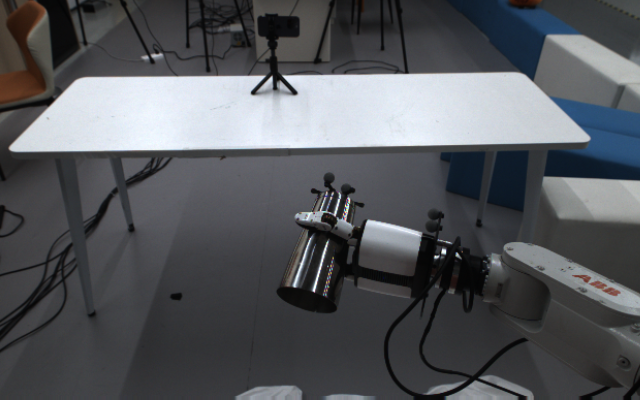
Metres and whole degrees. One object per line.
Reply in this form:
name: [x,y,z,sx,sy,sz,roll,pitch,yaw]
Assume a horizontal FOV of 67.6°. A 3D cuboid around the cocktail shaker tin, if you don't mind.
cocktail shaker tin: [0.004,0.073,0.730,0.093,0.093,0.170,11,60,12]
